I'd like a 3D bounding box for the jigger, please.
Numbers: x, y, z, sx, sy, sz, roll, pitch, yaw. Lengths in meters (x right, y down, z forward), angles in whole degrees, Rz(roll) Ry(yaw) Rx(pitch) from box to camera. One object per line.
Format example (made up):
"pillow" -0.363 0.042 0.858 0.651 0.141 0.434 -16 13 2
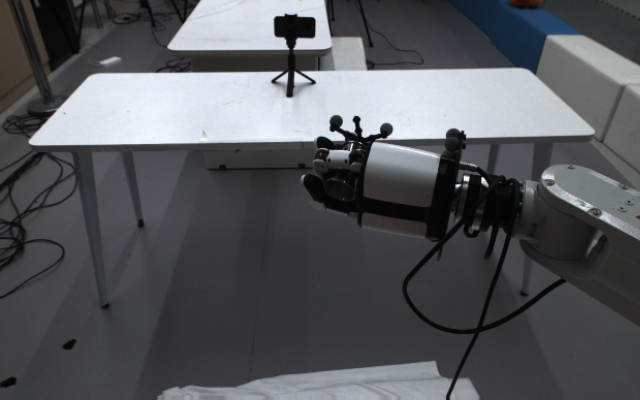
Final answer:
"jigger" 0.039 -0.038 0.620 0.043 0.043 0.071 13 58 16
